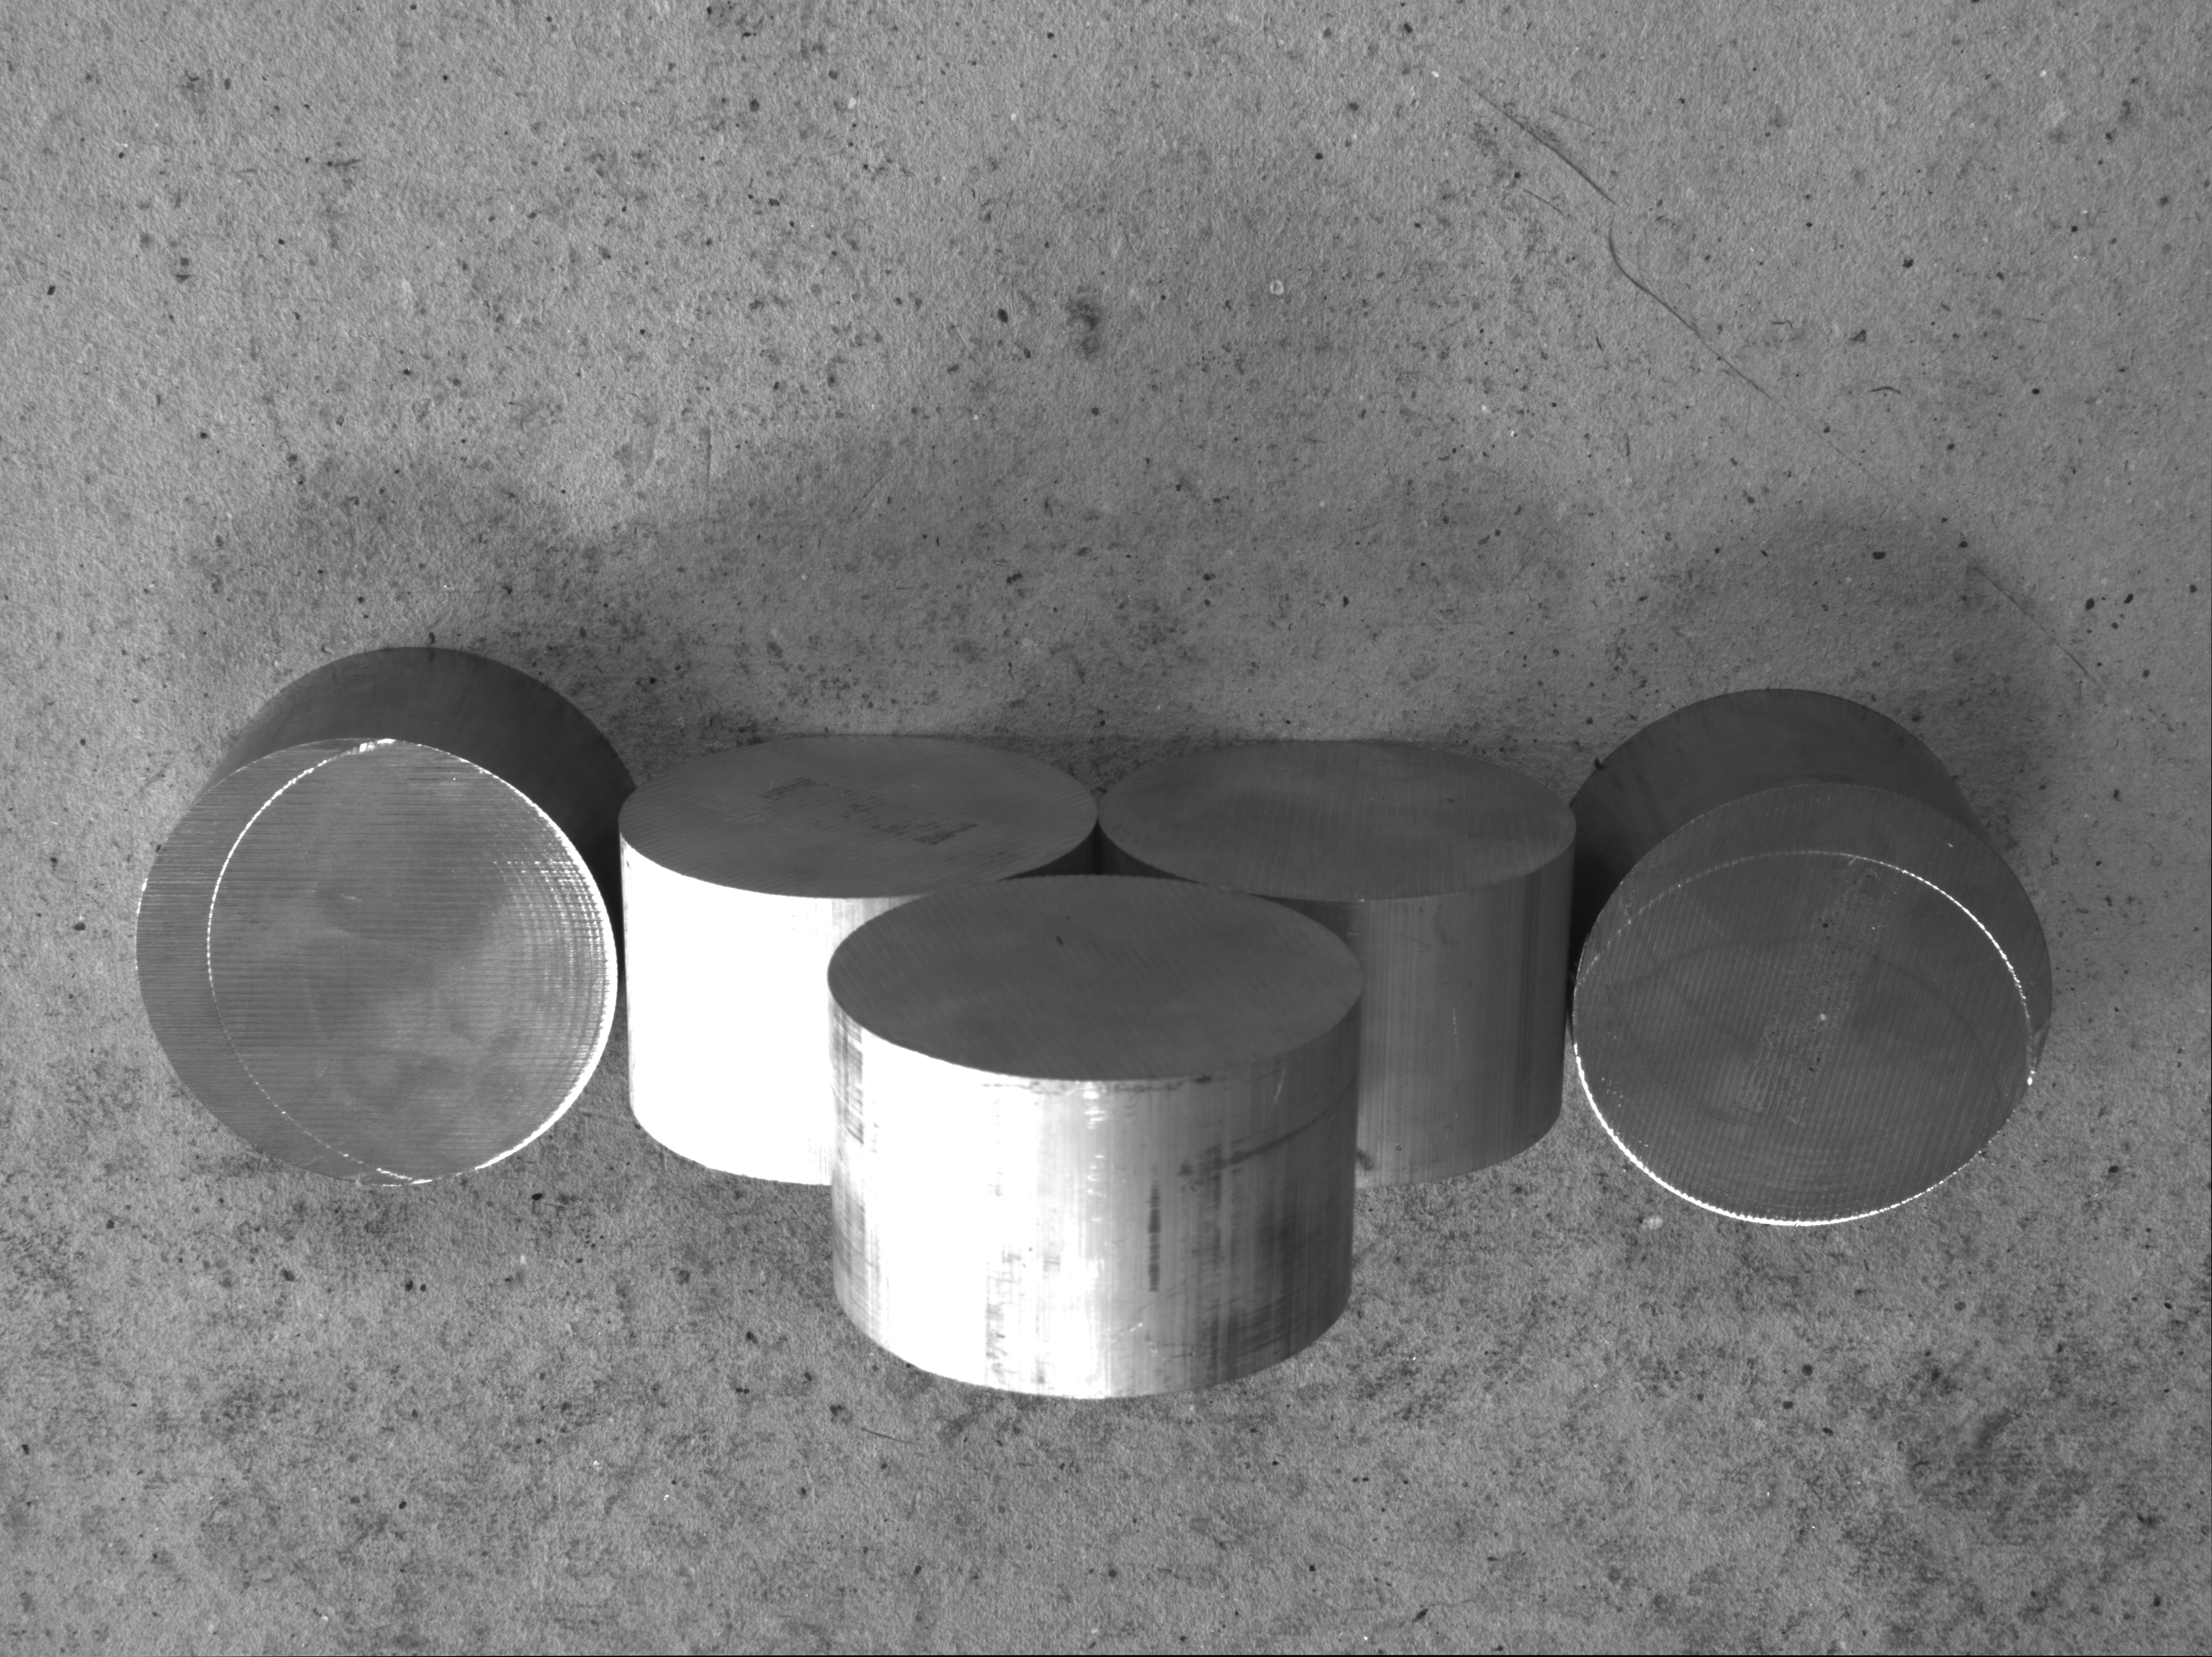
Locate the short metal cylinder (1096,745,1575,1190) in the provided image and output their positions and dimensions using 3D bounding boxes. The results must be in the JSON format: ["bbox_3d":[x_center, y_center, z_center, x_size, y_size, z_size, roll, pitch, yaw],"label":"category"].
[{"bbox_3d":[0.038,0.022,0.623,0.080,0.080,0.050,0,109,0],"label":"short metal cylinder"}]

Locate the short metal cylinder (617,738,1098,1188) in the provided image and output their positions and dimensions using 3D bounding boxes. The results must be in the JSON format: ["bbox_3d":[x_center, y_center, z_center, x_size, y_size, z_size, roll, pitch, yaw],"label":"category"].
[{"bbox_3d":[-0.041,0.021,0.622,0.080,0.080,0.050,0,110,0],"label":"short metal cylinder"}]

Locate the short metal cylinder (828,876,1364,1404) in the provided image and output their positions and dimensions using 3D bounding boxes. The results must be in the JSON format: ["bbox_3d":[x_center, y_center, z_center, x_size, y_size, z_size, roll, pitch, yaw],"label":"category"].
[{"bbox_3d":[-0.002,0.045,0.557,0.080,0.080,0.050,1,111,0],"label":"short metal cylinder"}]

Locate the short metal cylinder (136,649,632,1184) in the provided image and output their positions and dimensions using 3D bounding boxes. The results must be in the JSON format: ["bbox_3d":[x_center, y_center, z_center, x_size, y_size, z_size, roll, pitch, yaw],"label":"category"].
[{"bbox_3d":[-0.122,0.015,0.635,0.080,0.050,0.080,0,110,0],"label":"short metal cylinder"}]

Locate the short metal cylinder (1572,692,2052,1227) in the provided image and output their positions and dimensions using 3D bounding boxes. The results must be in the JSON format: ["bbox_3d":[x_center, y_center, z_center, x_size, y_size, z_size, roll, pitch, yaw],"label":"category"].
[{"bbox_3d":[0.118,0.022,0.638,0.080,0.050,0.080,0,110,0],"label":"short metal cylinder"}]
